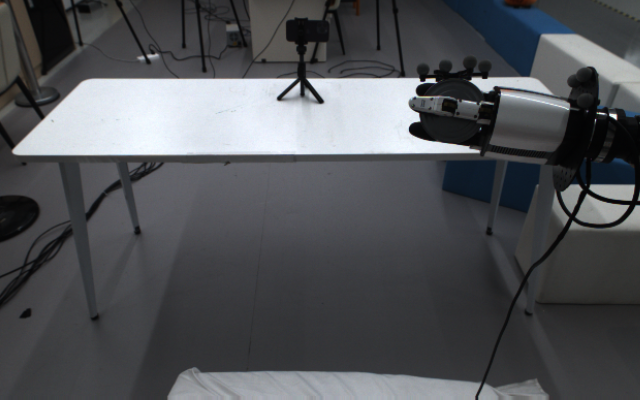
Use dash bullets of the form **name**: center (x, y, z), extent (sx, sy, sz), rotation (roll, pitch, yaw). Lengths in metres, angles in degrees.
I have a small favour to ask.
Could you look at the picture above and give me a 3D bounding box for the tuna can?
- **tuna can**: center (0.179, -0.120, 0.653), extent (0.085, 0.085, 0.034), rotation (13, 7, 15)
